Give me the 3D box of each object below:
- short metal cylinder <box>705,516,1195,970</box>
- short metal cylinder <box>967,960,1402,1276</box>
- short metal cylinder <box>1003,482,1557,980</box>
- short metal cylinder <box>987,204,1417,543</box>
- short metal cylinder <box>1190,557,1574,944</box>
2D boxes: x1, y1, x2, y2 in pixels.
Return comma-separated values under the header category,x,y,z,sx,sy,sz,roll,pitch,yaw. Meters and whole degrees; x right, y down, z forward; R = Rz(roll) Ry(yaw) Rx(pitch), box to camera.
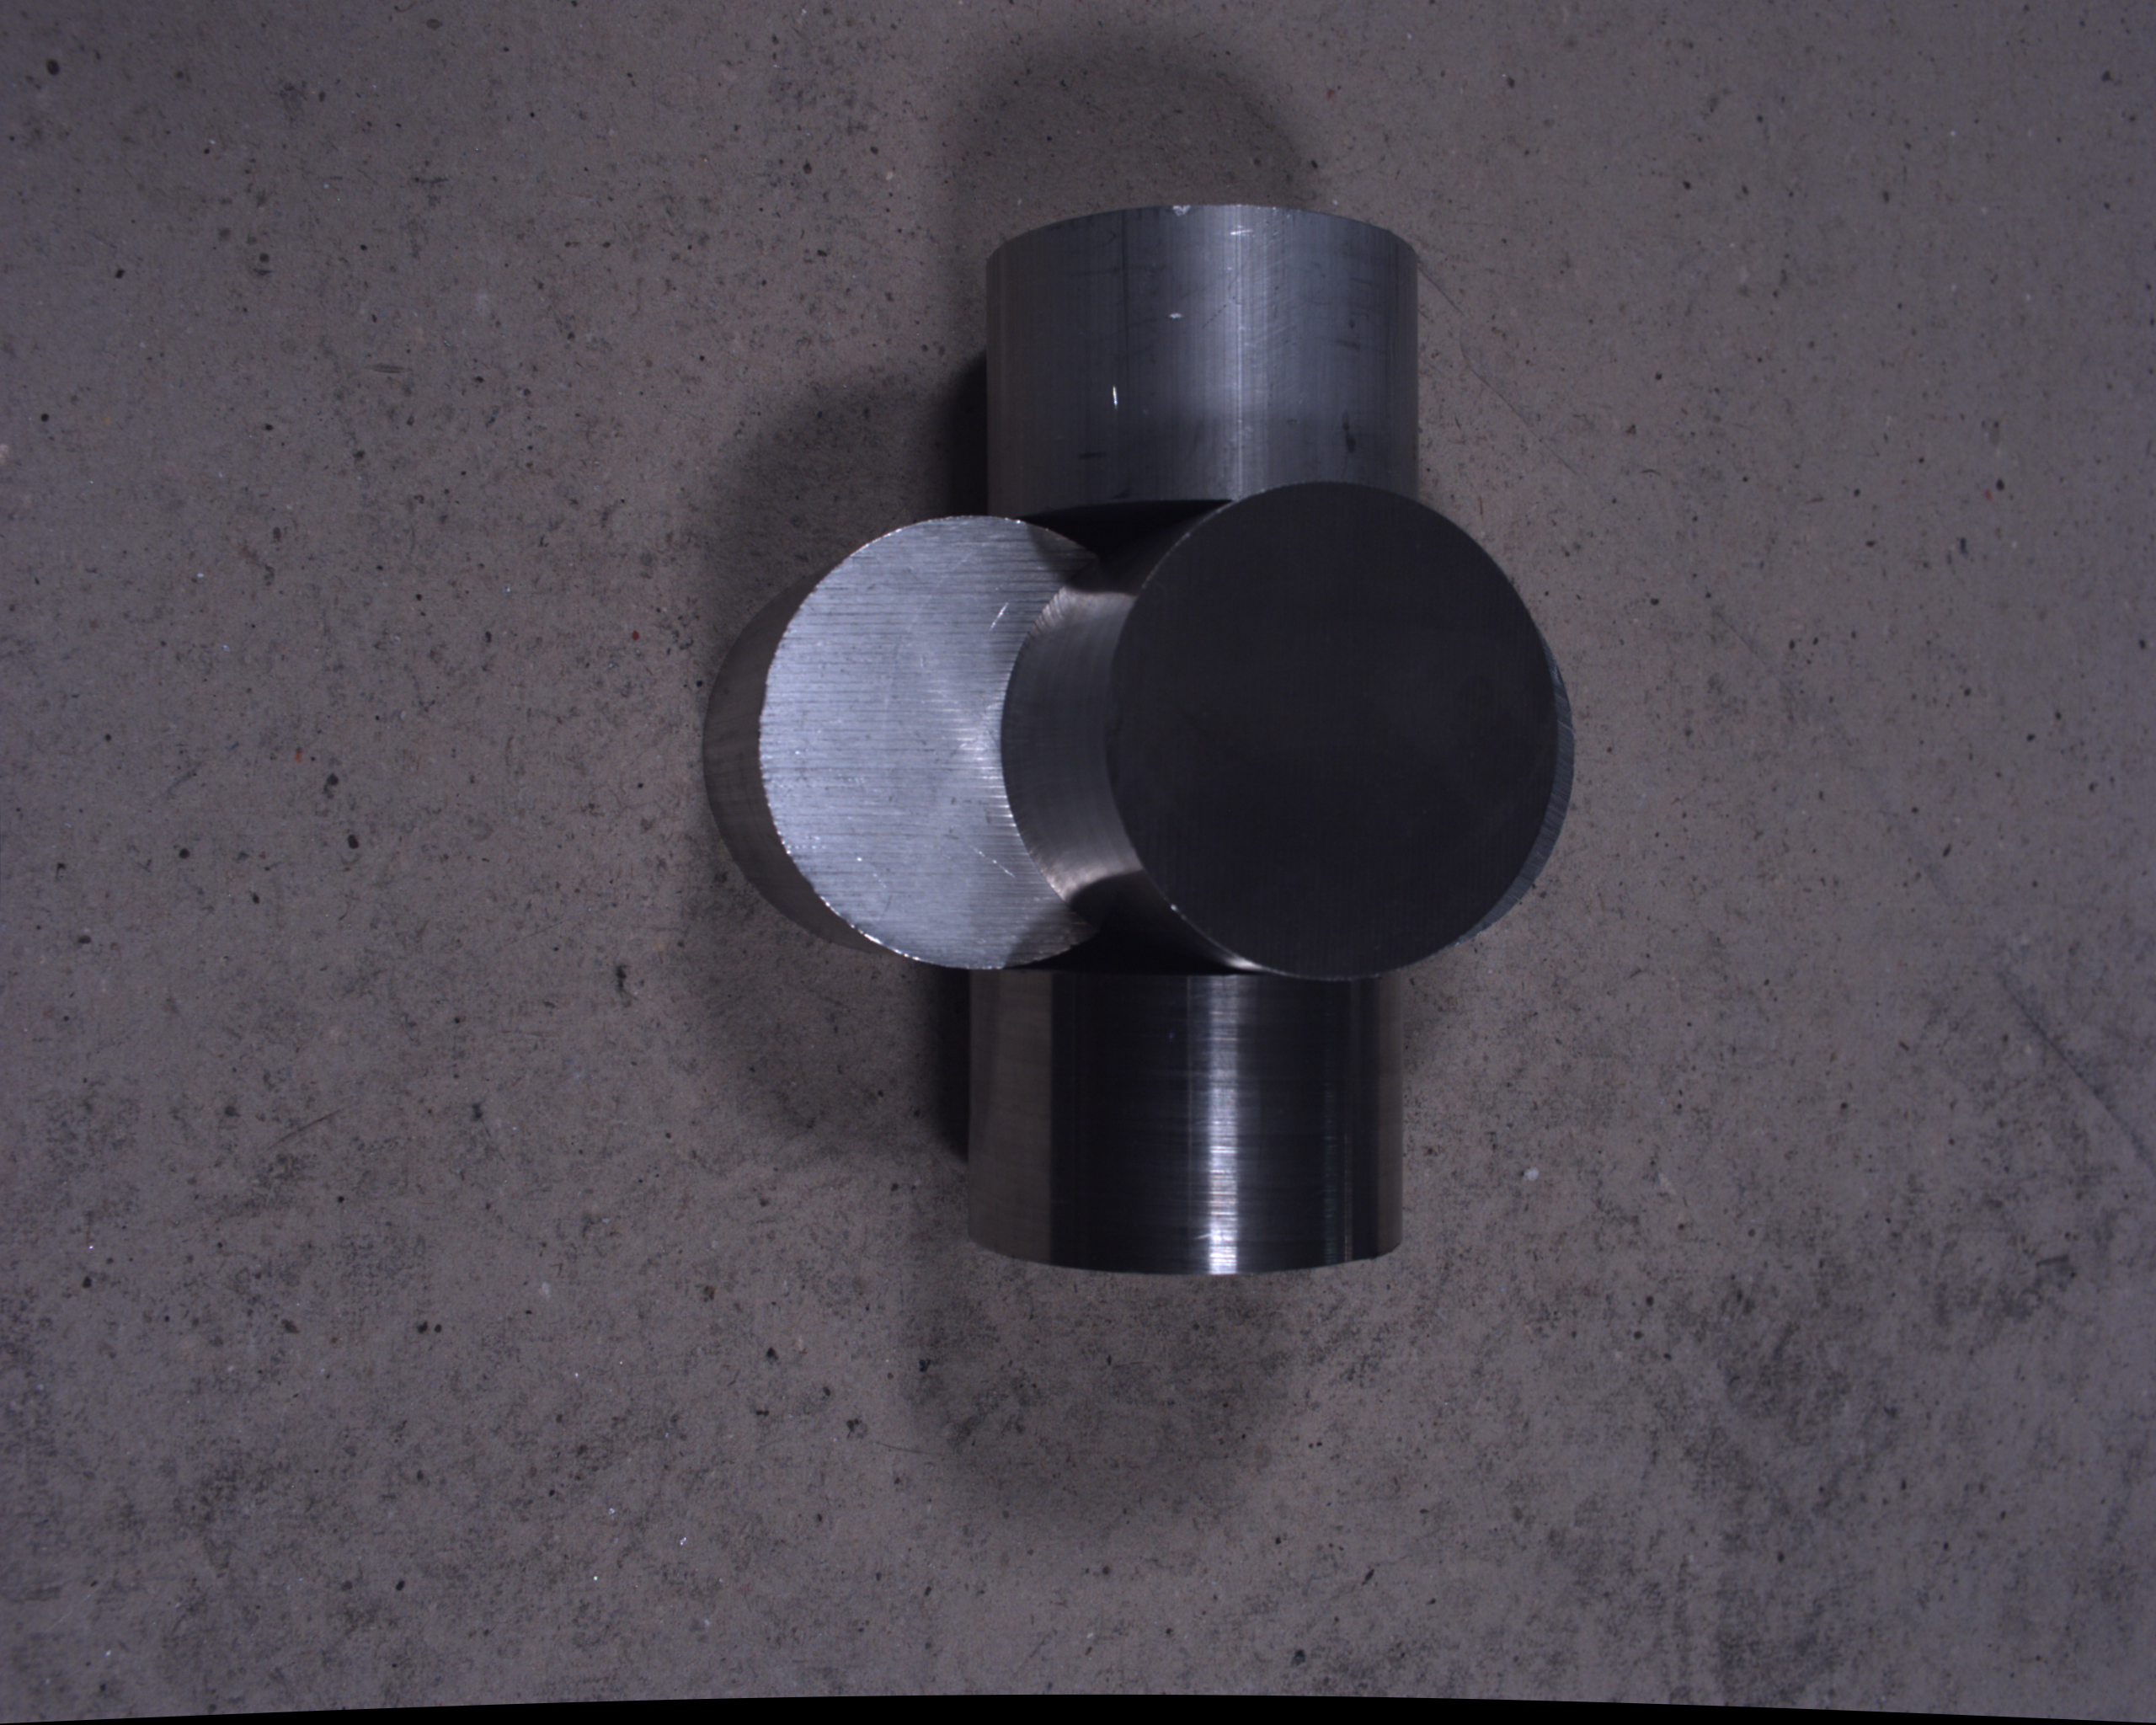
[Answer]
category,x,y,z,sx,sy,sz,roll,pitch,yaw
short metal cylinder,-0.025,-0.021,0.388,0.081,0.050,0.079,0,90,-21
short metal cylinder,0.020,0.044,0.390,0.081,0.080,0.050,0,90,-20
short metal cylinder,0.033,-0.021,0.356,0.081,0.050,0.079,0,90,-21
short metal cylinder,0.023,-0.086,0.391,0.081,0.080,0.050,0,90,-20
short metal cylinder,0.050,-0.022,0.417,0.081,0.050,0.079,0,90,-21
